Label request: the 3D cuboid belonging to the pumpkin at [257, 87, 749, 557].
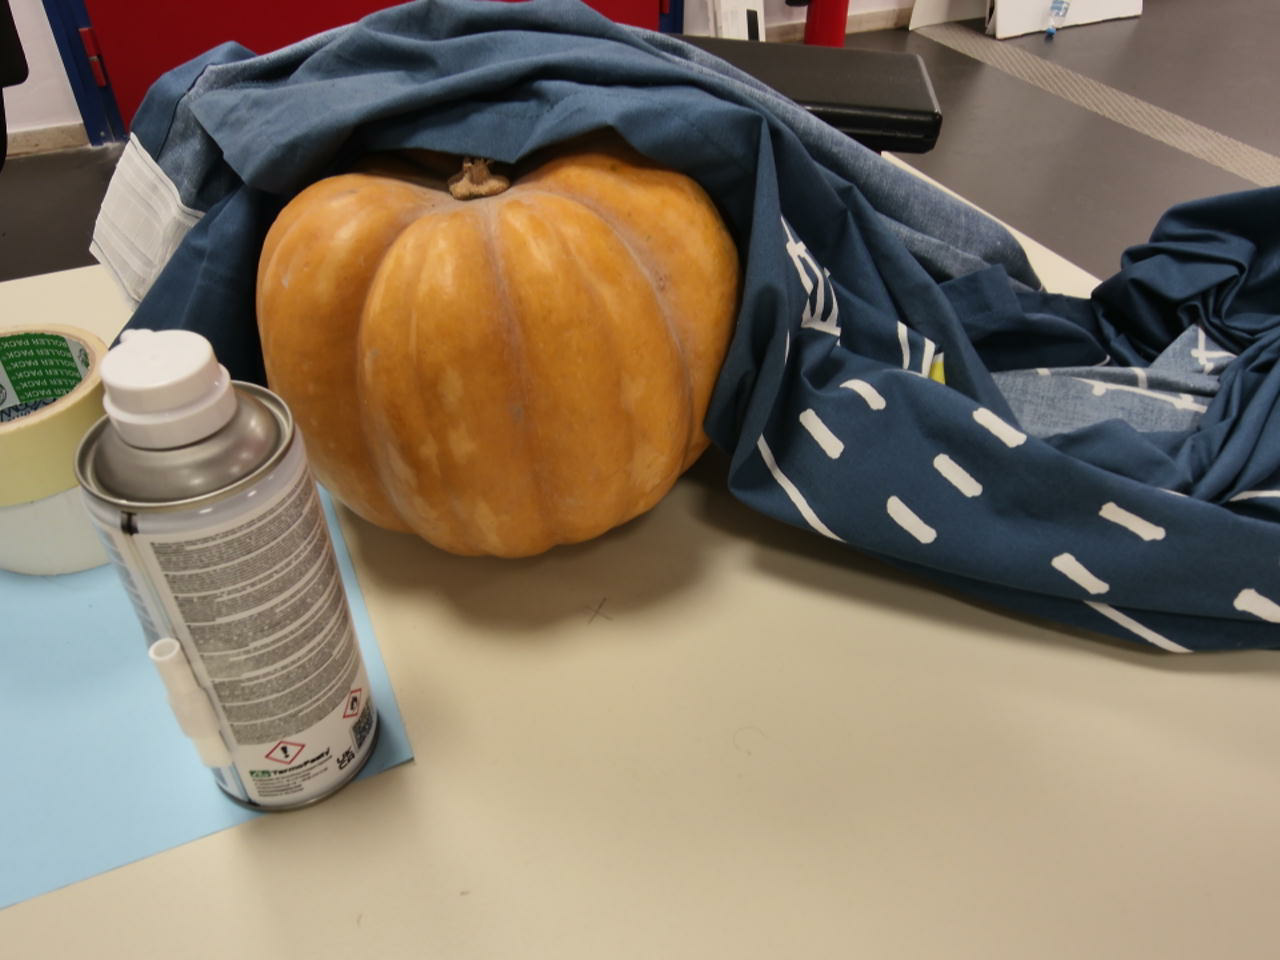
[{"bbox_3d":[-0.058,-0.073,0.472,0.230,0.194,0.230,0,39,0],"label":"pumpkin"}]
